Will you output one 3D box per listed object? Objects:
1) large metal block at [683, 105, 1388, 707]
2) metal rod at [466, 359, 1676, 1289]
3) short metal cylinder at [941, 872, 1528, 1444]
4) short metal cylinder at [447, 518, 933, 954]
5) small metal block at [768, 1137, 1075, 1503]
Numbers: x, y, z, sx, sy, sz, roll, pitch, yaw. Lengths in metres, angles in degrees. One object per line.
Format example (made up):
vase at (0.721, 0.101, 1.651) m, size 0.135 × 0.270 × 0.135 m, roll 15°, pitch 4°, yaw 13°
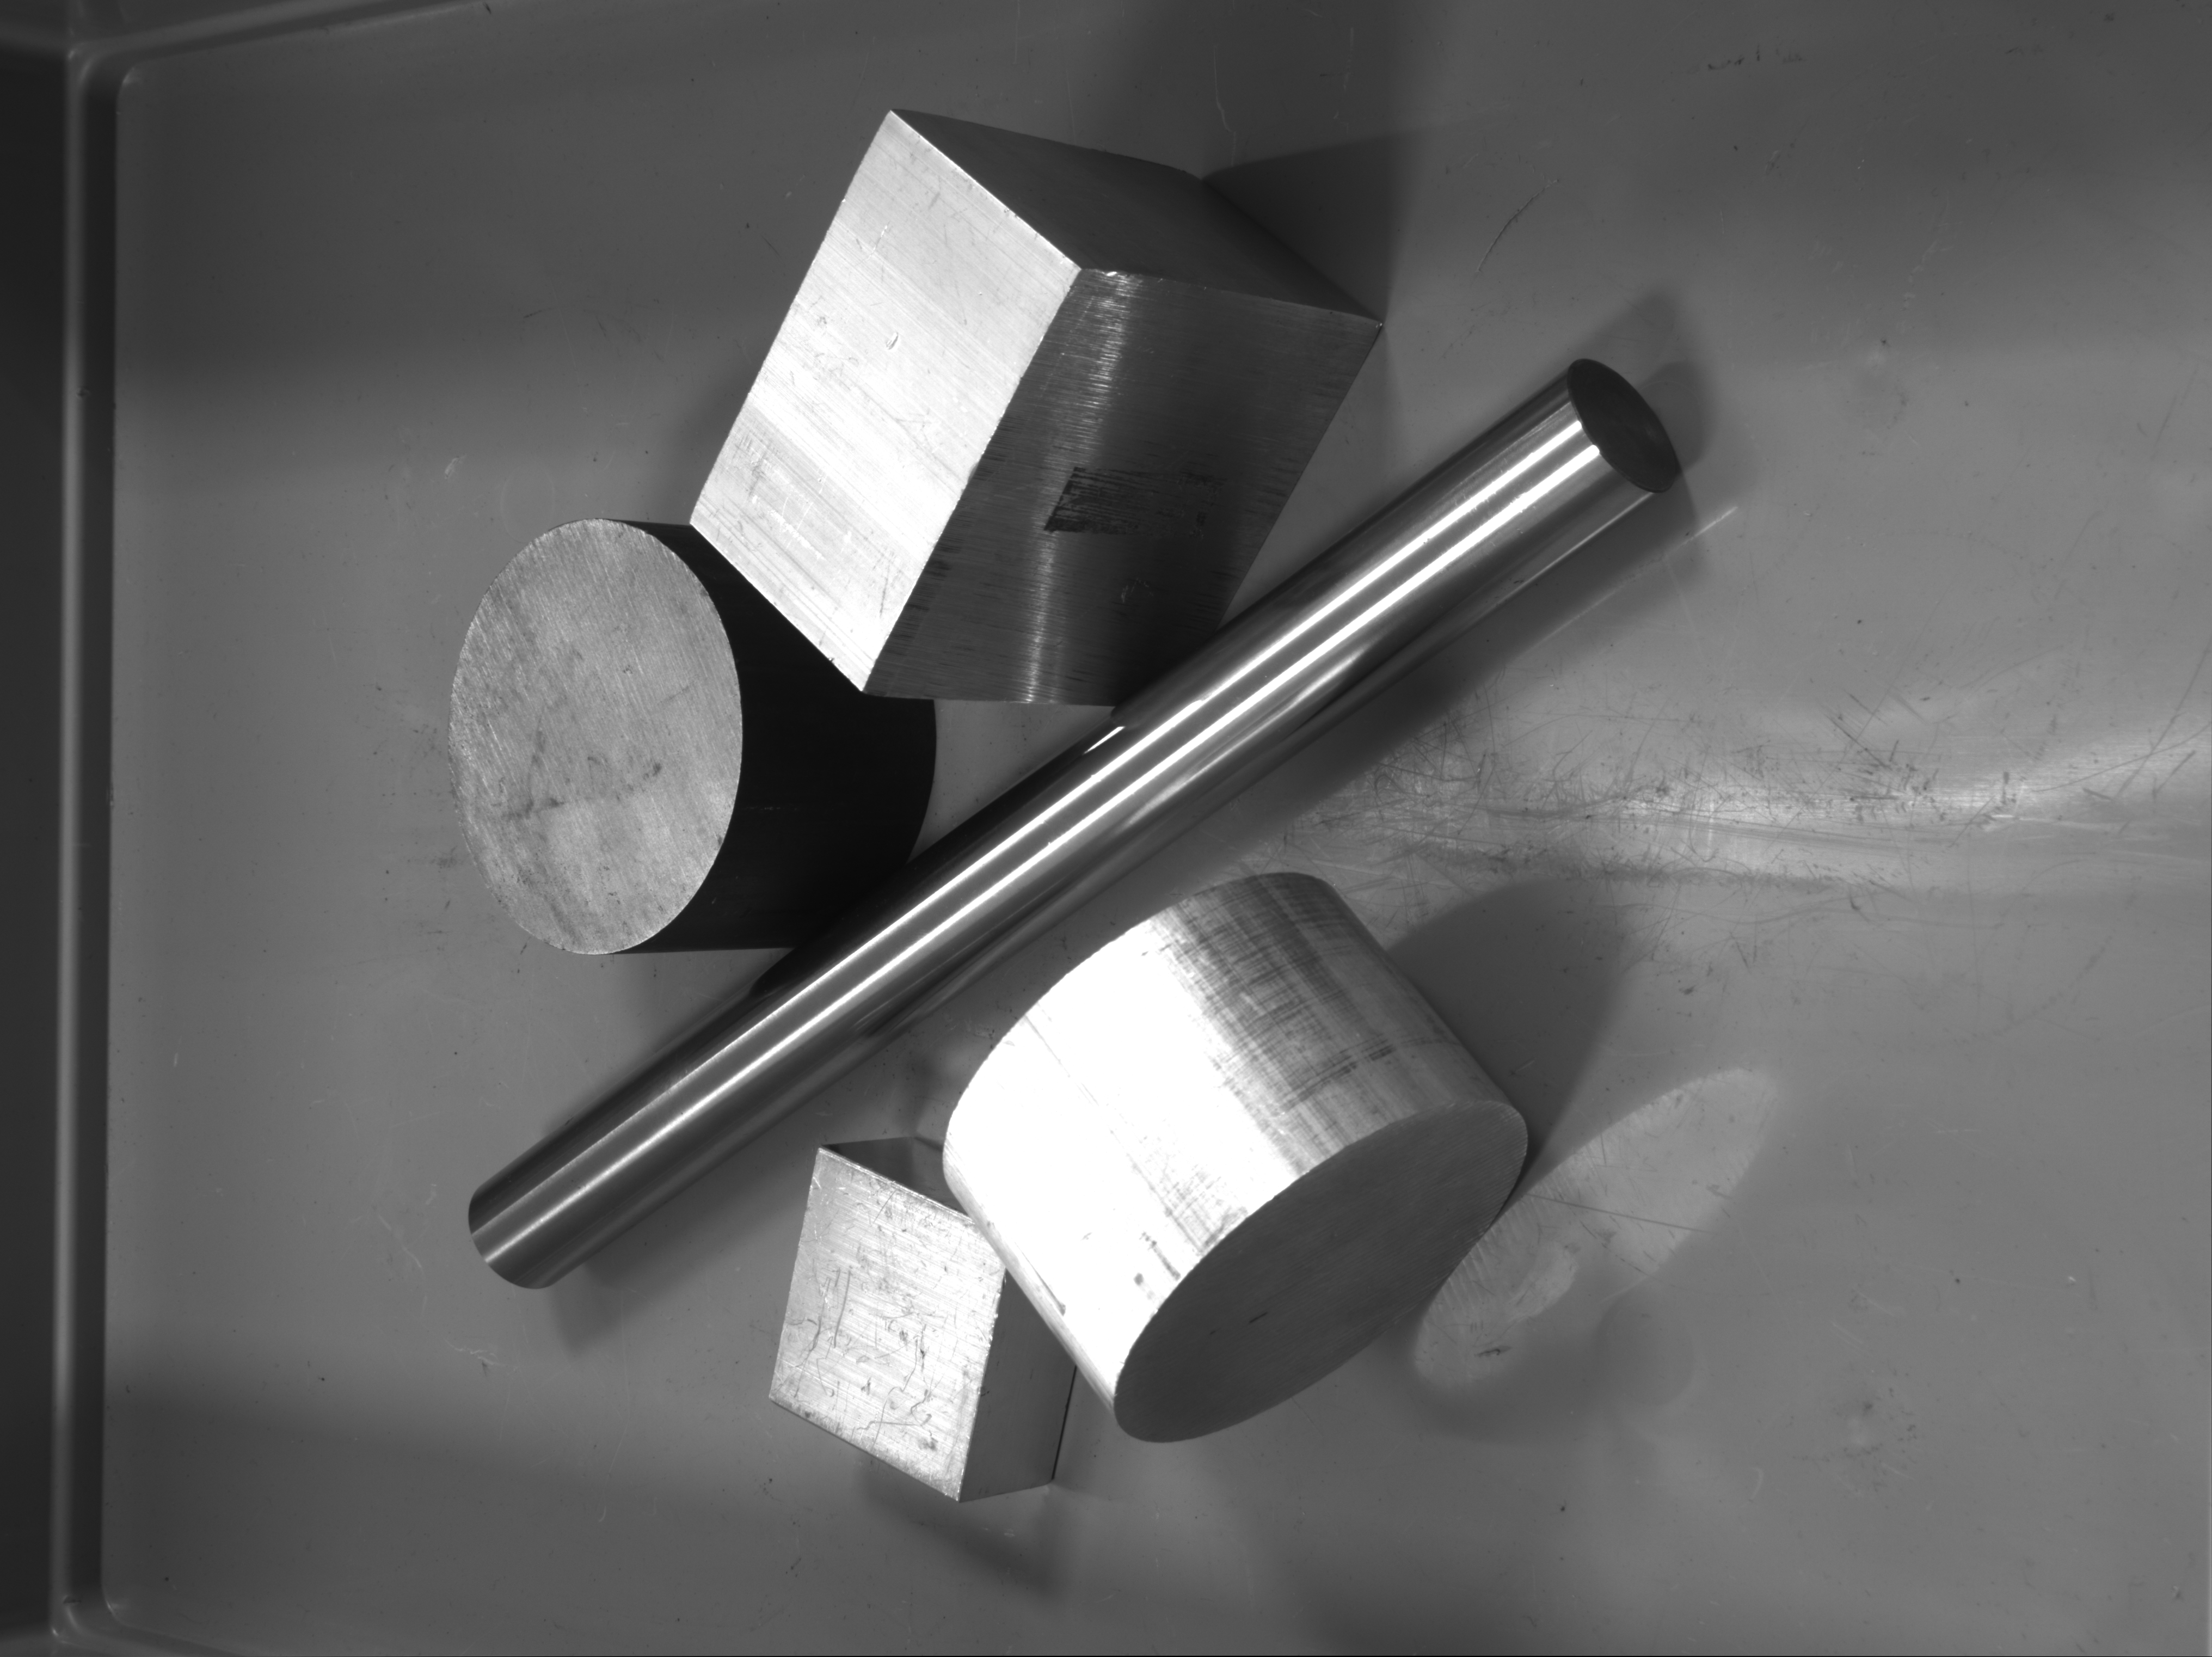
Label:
large metal block at (-0.012, -0.068, 0.618) m, size 0.050 × 0.080 × 0.080 m, roll 44°, pitch 116°, yaw 31°
metal rod at (-0.019, 0.009, 0.660) m, size 0.299 × 0.025 × 0.025 m, roll -36°, pitch 68°, yaw 34°
short metal cylinder at (0.021, 0.053, 0.591) m, size 0.050 × 0.080 × 0.080 m, roll 51°, pitch 120°, yaw 28°
short metal cylinder at (-0.079, -0.017, 0.694) m, size 0.080 × 0.050 × 0.080 m, roll 0°, pitch 90°, yaw 40°
small metal block at (-0.031, 0.089, 0.670) m, size 0.050 × 0.025 × 0.050 m, roll 19°, pitch 102°, yaw 39°
